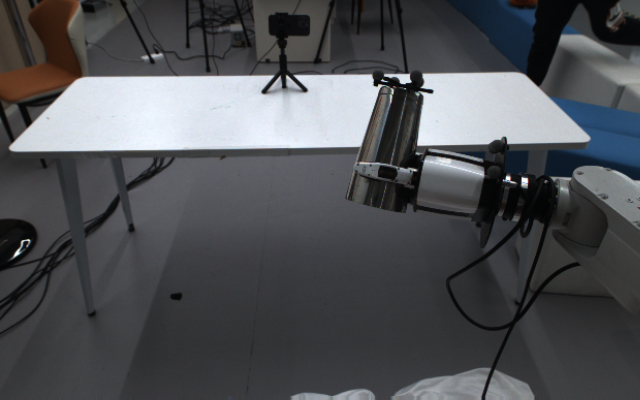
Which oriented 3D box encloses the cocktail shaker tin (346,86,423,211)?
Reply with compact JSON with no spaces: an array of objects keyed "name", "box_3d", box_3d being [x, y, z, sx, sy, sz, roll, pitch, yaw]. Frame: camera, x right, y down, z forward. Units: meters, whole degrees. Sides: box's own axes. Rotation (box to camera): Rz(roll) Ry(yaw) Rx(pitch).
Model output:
[{"name":"cocktail shaker tin","box_3d":[0.100,-0.075,0.712,0.093,0.170,0.093,13,4,-1]}]
